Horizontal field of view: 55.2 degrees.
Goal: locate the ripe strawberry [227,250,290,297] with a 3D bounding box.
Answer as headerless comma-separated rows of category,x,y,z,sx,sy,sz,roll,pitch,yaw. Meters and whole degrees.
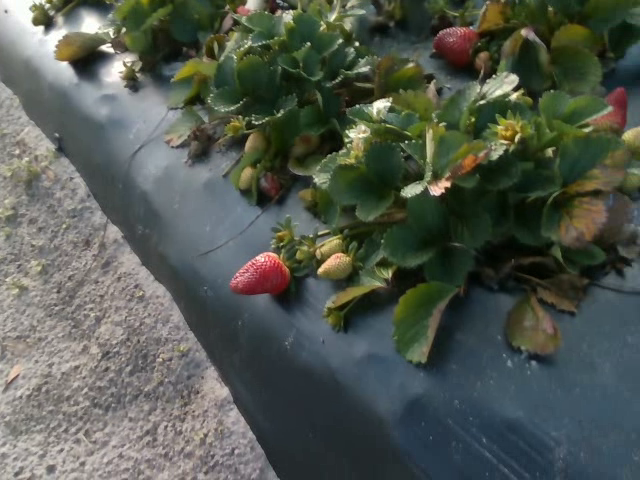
ripe strawberry,-0.068,0.038,0.676,0.067,0.045,0.052,-28,48,-21
